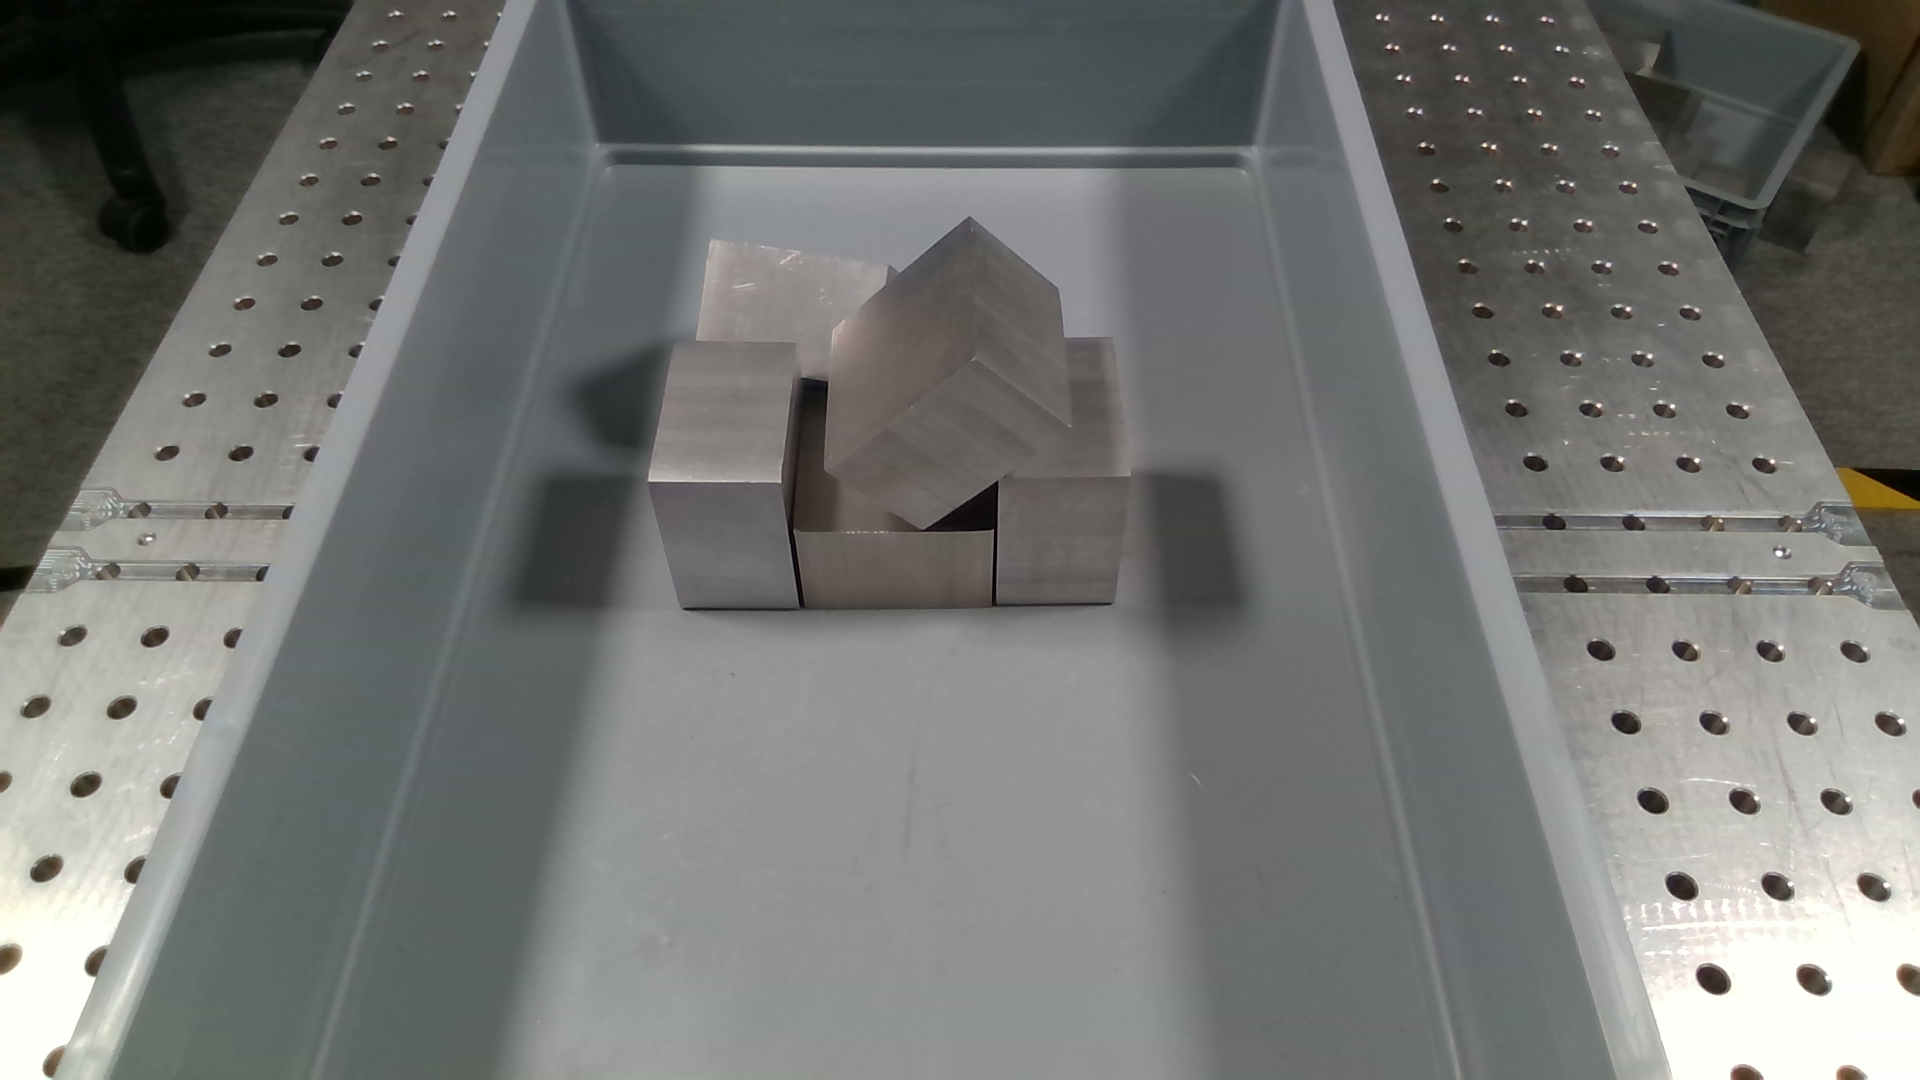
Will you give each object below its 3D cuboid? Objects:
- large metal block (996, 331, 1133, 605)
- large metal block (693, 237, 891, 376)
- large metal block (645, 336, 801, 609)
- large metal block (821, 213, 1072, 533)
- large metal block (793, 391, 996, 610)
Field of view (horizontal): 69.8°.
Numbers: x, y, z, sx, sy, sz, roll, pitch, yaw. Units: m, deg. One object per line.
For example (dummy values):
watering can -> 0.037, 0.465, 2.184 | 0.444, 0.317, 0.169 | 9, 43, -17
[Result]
large metal block -> 0.039, -0.029, 0.573 | 0.050, 0.080, 0.080 | -1, 50, -1
large metal block -> -0.067, -0.100, 0.622 | 0.080, 0.080, 0.050 | 9, 94, 8
large metal block -> -0.093, -0.027, 0.572 | 0.050, 0.080, 0.080 | 0, 50, 0
large metal block -> -0.006, -0.063, 0.529 | 0.050, 0.080, 0.080 | 32, 40, -33
large metal block -> -0.026, -0.018, 0.586 | 0.080, 0.050, 0.080 | -1, 50, -1
